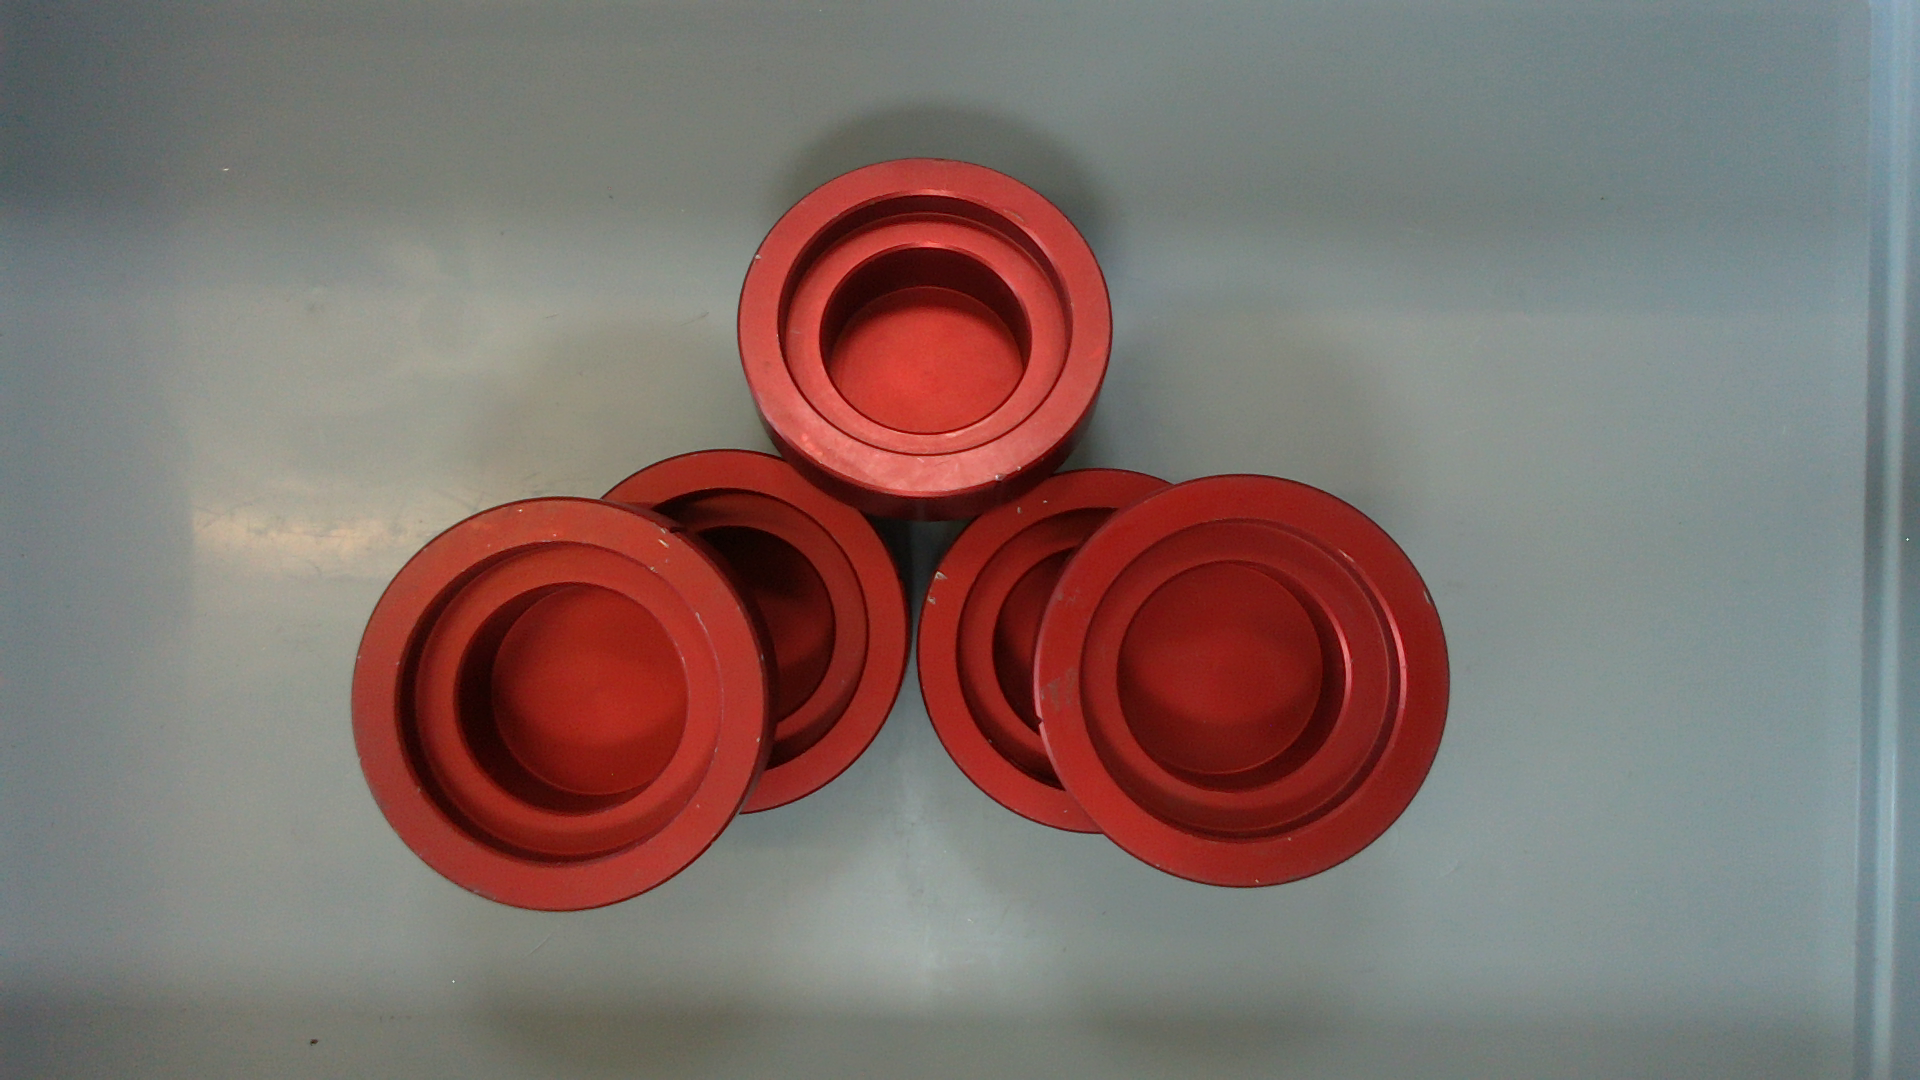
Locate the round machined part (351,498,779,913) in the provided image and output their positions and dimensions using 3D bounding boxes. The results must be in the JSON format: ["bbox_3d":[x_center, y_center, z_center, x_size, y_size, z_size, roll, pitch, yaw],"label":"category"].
[{"bbox_3d":[-0.094,0.039,0.344,0.098,0.042,0.098,0,90,0],"label":"round machined part"}]

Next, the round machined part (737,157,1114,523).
[{"bbox_3d":[-0.009,-0.051,0.376,0.098,0.042,0.098,0,72,-1],"label":"round machined part"}]

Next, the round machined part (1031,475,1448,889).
[{"bbox_3d":[0.066,0.033,0.345,0.098,0.042,0.098,0,90,0],"label":"round machined part"}]

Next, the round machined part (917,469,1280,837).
[{"bbox_3d":[0.037,0.030,0.386,0.098,0.042,0.098,0,90,0],"label":"round machined part"}]

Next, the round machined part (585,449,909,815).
[{"bbox_3d":[-0.062,0.025,0.386,0.098,0.042,0.098,0,90,0],"label":"round machined part"}]
